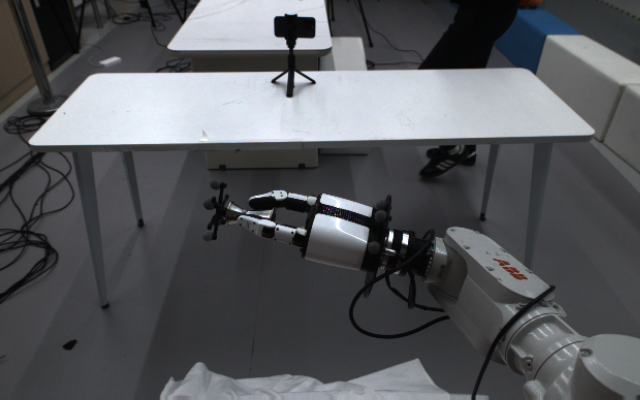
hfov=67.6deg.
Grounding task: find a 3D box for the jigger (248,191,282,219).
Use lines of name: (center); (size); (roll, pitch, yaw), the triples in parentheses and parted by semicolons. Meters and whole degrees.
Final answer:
jigger: (-0.098, 0.024, 0.738); (0.071, 0.043, 0.043); (10, 35, 2)
